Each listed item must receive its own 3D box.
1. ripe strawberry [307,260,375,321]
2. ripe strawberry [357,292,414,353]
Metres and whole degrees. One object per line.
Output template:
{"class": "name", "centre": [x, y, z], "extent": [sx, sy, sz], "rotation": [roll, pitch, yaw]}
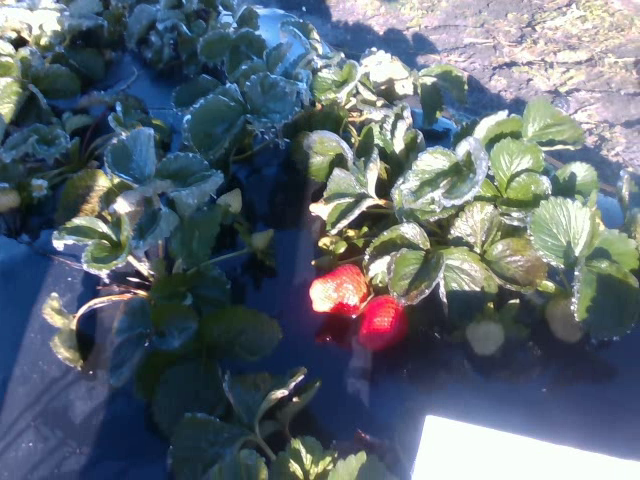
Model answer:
{"class": "ripe strawberry", "centre": [0.018, 0.052, 0.577], "extent": [0.069, 0.053, 0.040], "rotation": [-25, -30, -10]}
{"class": "ripe strawberry", "centre": [0.053, 0.071, 0.541], "extent": [0.043, 0.059, 0.040], "rotation": [7, -36, 22]}
